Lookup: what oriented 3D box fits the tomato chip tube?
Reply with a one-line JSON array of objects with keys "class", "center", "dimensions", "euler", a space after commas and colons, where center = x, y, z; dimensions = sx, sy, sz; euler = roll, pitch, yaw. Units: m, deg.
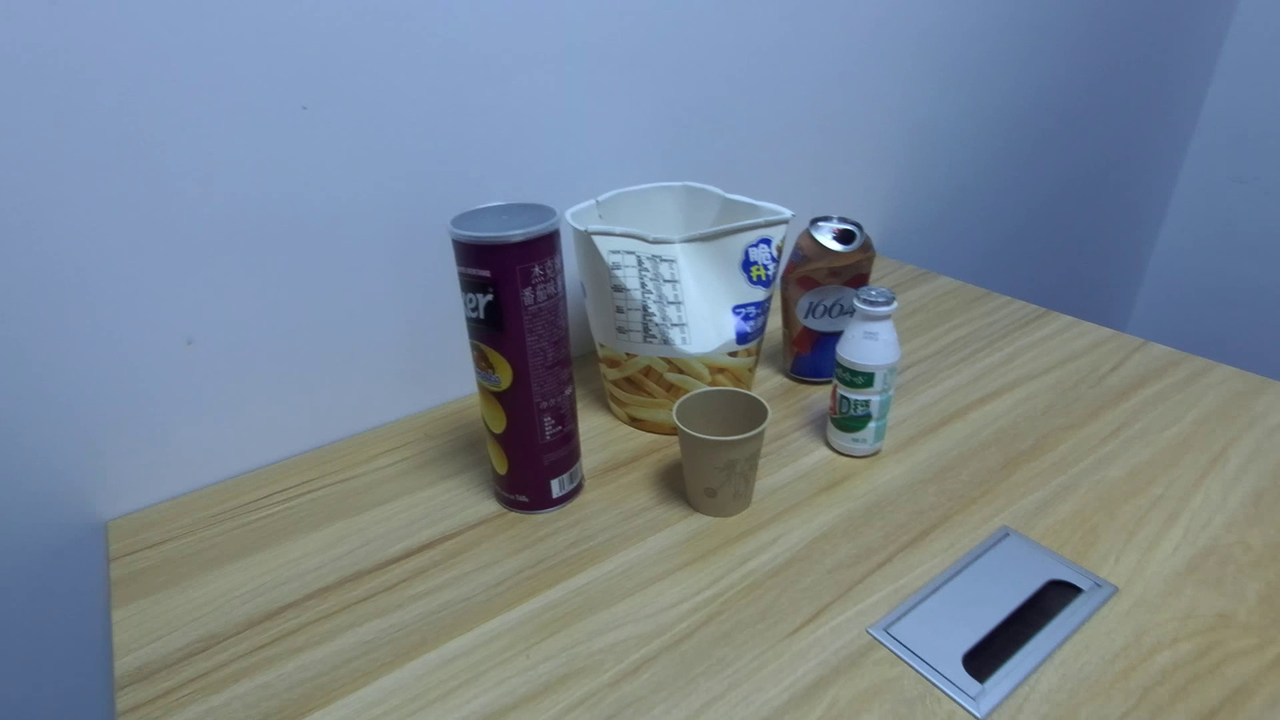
[{"class": "tomato chip tube", "center": [-0.088, 0.005, 0.544], "dimensions": [0.078, 0.234, 0.078], "euler": [-2, 29, 1]}]

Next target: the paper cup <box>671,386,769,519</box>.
[{"class": "paper cup", "center": [0.064, 0.075, 0.557], "dimensions": [0.075, 0.082, 0.075], "euler": [-2, 27, 1]}]

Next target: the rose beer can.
[{"class": "rose beer can", "center": [0.184, -0.057, 0.708], "dimensions": [0.069, 0.168, 0.069], "euler": [22, 36, 34]}]

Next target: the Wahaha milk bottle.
[{"class": "Wahaha milk bottle", "center": [0.190, 0.011, 0.600], "dimensions": [0.053, 0.147, 0.053], "euler": [-1, 28, 1]}]

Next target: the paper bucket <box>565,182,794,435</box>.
[{"class": "paper bucket", "center": [0.027, -0.045, 0.665], "dimensions": [0.163, 0.202, 0.168], "euler": [-21, 30, -30]}]
